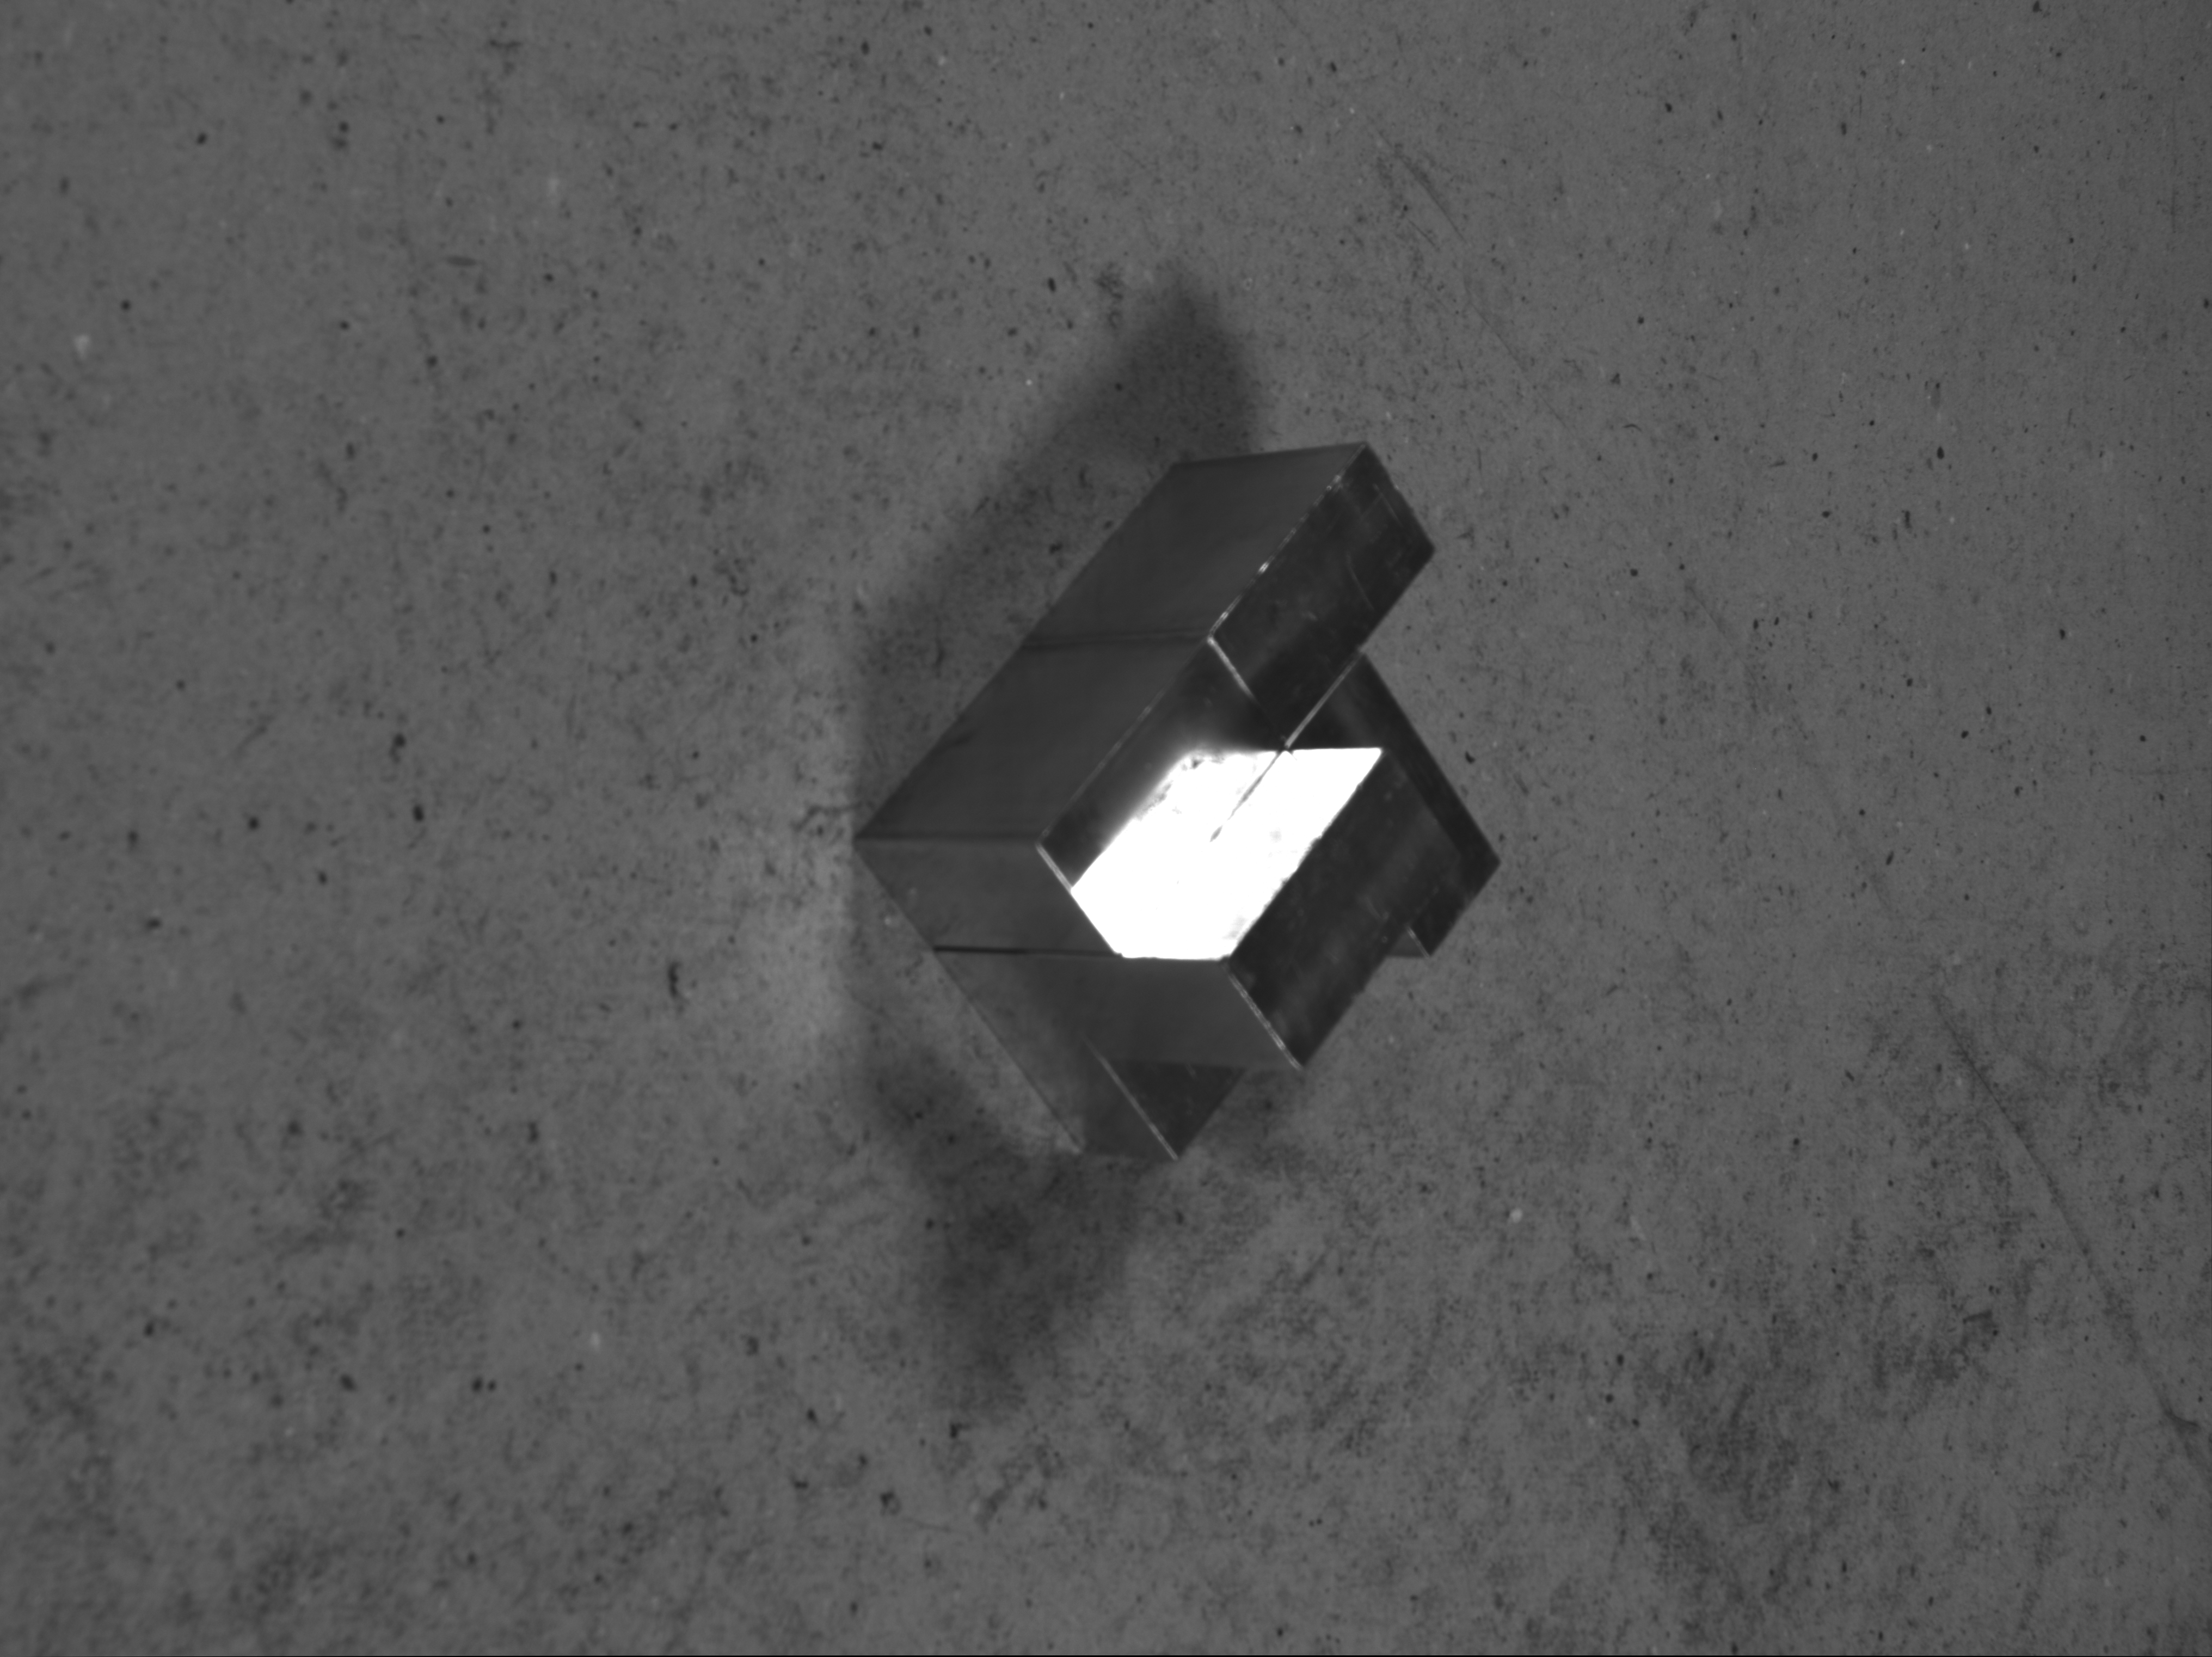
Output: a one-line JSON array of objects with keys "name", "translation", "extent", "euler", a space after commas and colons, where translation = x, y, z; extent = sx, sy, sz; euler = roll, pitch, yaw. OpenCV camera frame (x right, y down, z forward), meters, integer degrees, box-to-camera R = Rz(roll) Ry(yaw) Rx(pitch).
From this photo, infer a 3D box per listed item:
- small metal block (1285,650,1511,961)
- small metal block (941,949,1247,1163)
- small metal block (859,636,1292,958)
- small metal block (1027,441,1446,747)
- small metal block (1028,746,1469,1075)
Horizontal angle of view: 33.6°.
[{"name": "small metal block", "translation": [0.036, -0.004, 0.651], "extent": [0.025, 0.050, 0.050], "euler": [-50, 119, -28]}, {"name": "small metal block", "translation": [0.007, 0.022, 0.643], "extent": [0.050, 0.025, 0.050], "euler": [-50, 119, -28]}, {"name": "small metal block", "translation": [-0.005, -0.005, 0.616], "extent": [0.050, 0.050, 0.025], "euler": [-51, 120, -28]}, {"name": "small metal block", "translation": [0.023, -0.040, 0.640], "extent": [0.050, 0.050, 0.025], "euler": [-51, 120, -28]}, {"name": "small metal block", "translation": [0.024, 0.013, 0.608], "extent": [0.050, 0.050, 0.025], "euler": [-51, 120, -28]}]
